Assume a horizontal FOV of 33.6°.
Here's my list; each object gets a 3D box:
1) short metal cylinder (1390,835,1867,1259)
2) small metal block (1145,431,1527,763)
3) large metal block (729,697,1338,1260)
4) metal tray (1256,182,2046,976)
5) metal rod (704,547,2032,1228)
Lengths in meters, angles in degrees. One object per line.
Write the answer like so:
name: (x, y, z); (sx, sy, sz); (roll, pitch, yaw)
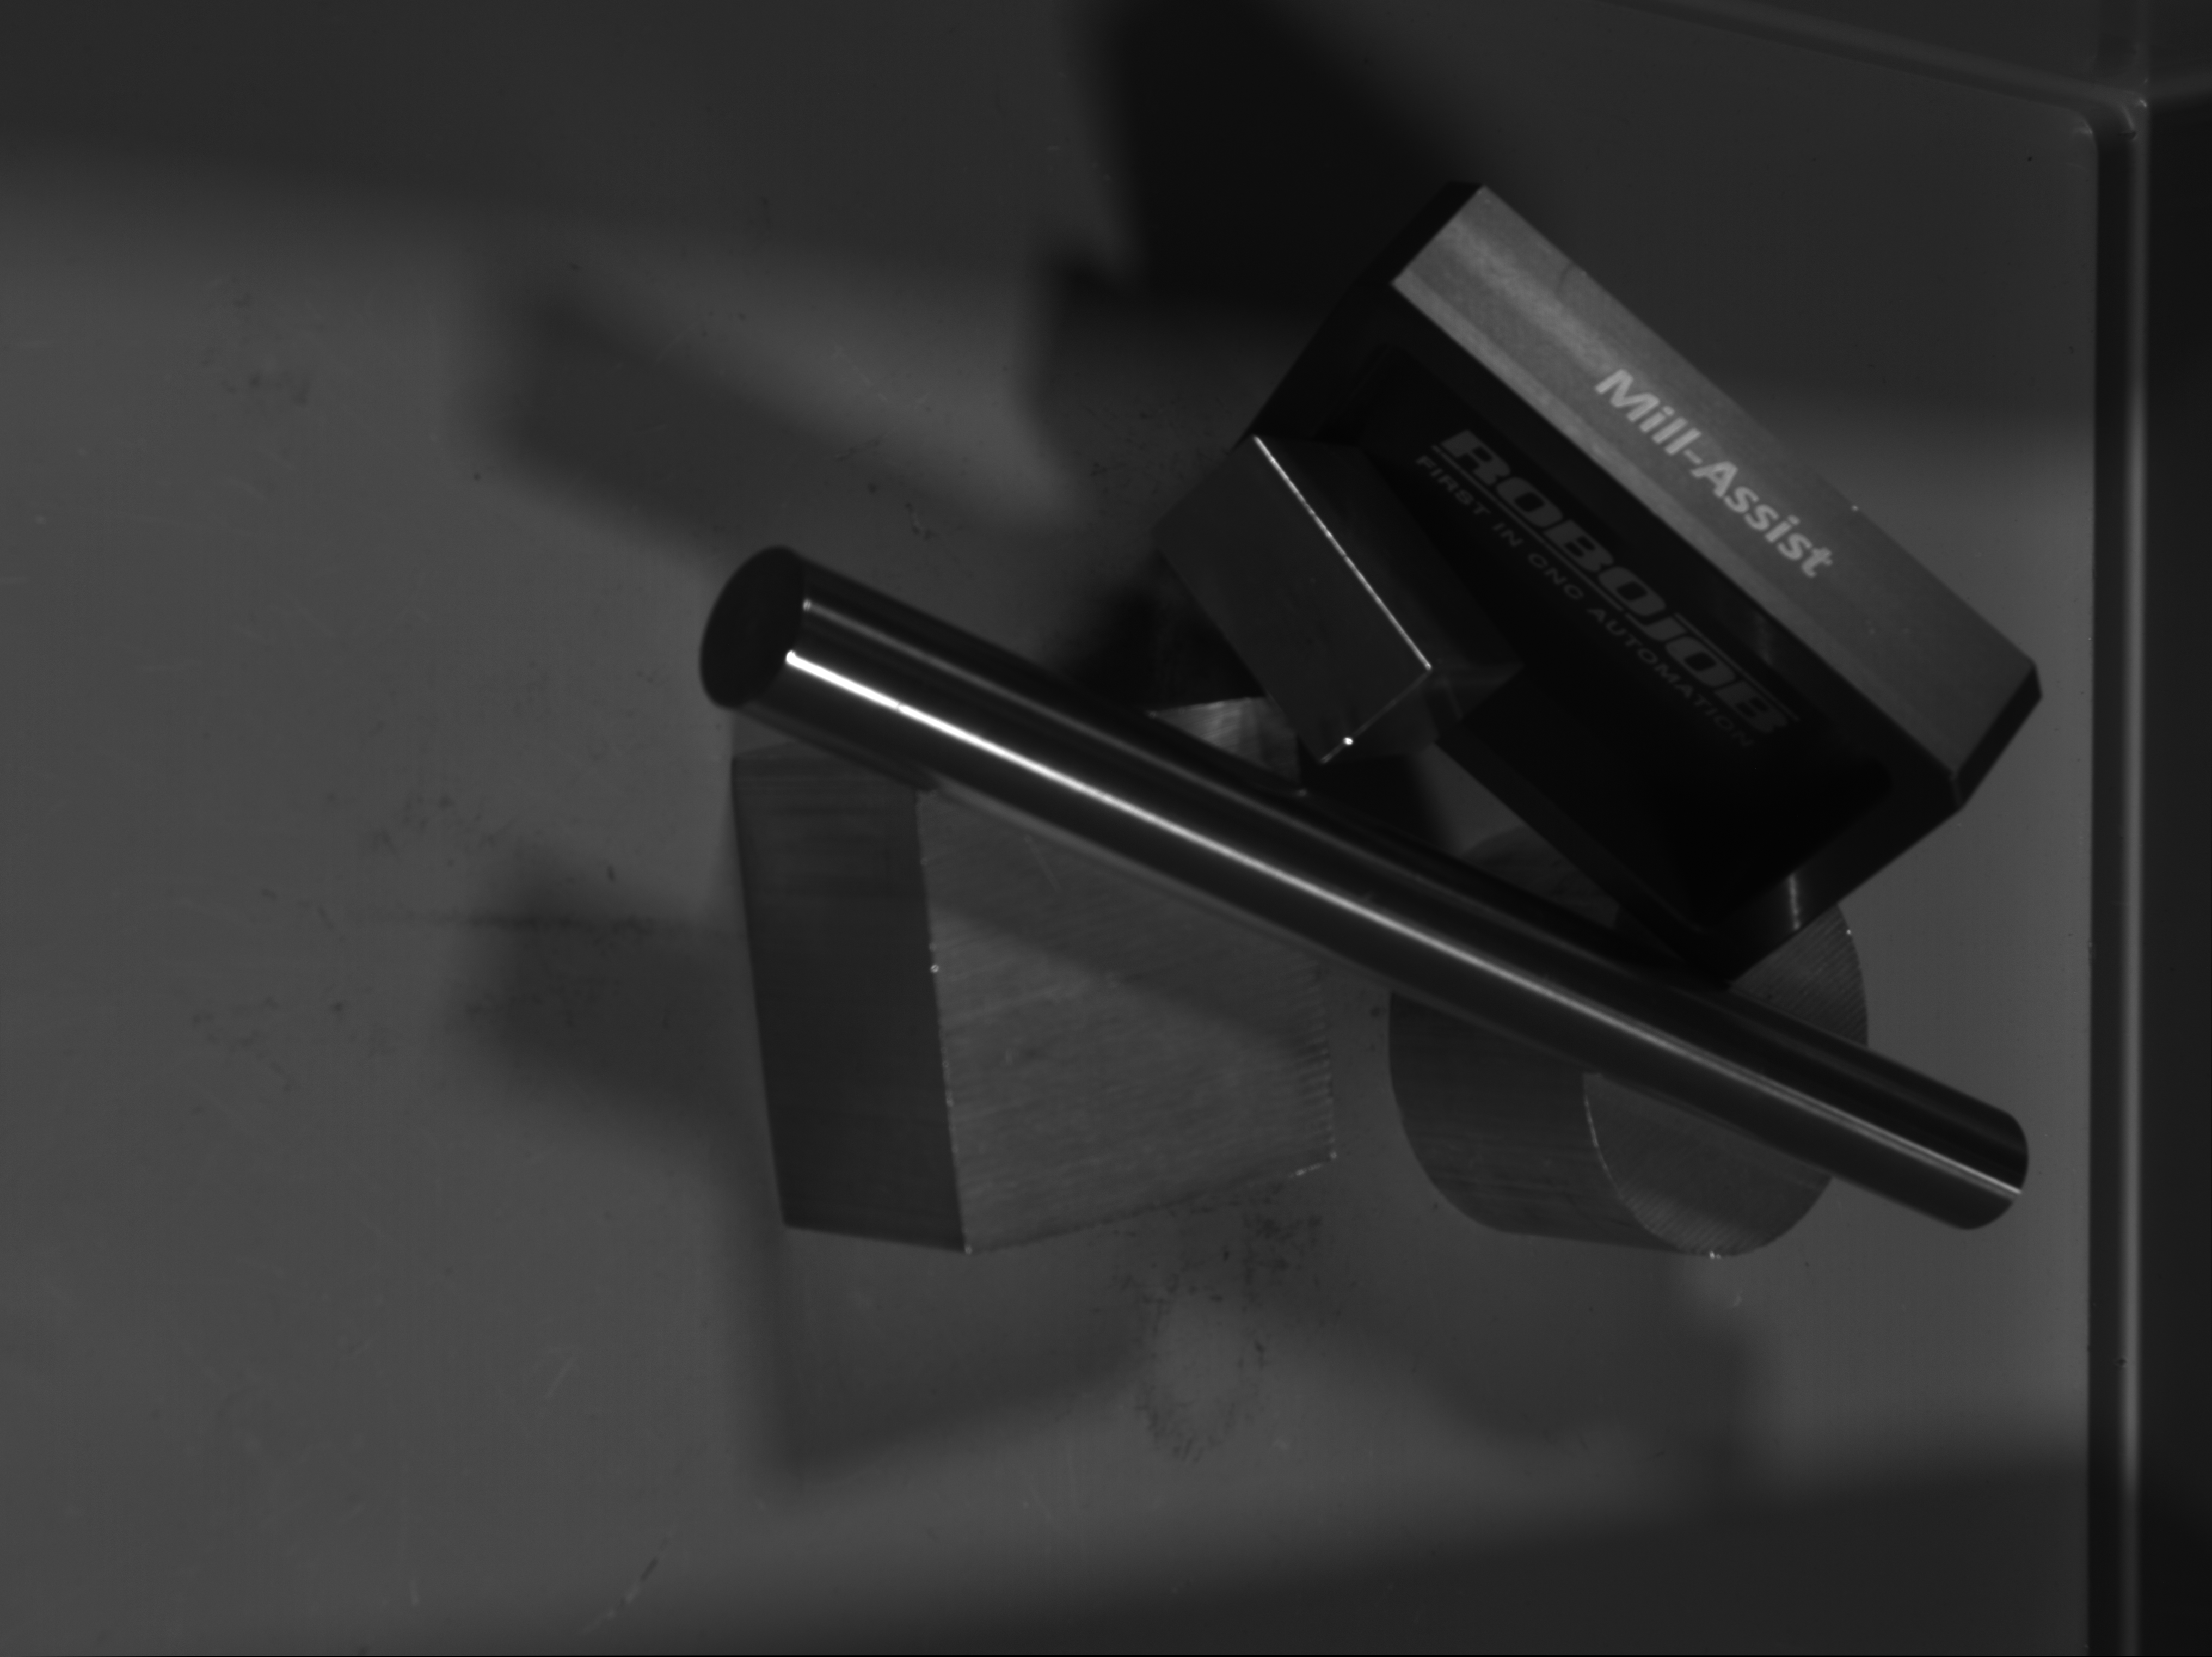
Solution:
short metal cylinder: (0.101, 0.040, 0.704); (0.080, 0.050, 0.080); (0, 90, -40)
small metal block: (0.040, -0.039, 0.626); (0.050, 0.025, 0.050); (54, 21, 12)
large metal block: (-0.011, 0.022, 0.611); (0.080, 0.050, 0.080); (-10, 96, -39)
metal tray: (0.085, -0.040, 0.633); (0.130, 0.090, 0.030); (41, 60, 1)
metal rod: (0.059, 0.018, 0.619); (0.301, 0.025, 0.025); (23, 75, -37)
